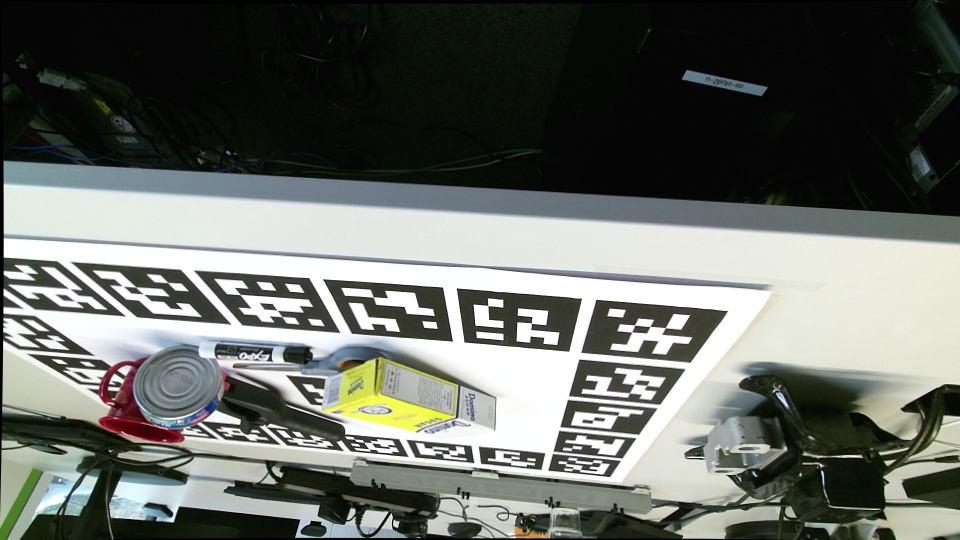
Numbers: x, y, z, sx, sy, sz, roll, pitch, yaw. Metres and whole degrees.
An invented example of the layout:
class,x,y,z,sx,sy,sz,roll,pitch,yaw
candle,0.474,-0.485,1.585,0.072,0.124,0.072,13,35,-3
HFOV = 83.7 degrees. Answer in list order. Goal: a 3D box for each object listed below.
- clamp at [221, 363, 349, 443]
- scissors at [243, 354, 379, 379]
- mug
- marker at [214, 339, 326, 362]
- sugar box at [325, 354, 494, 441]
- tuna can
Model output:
class,x,y,z,sx,sy,sz,roll,pitch,yaw
clamp,-0.291,0.187,0.729,0.166,0.036,0.203,-2,142,14
scissors,-0.179,0.117,0.605,0.203,0.016,0.088,-1,147,15
mug,-0.387,0.150,0.647,0.093,0.081,0.117,-13,142,27
marker,-0.226,0.087,0.578,0.121,0.019,0.020,2,142,8
sugar box,-0.074,0.150,0.604,0.093,0.045,0.177,-21,141,34
tuna can,-0.330,0.126,0.595,0.086,0.085,0.034,14,144,-8
